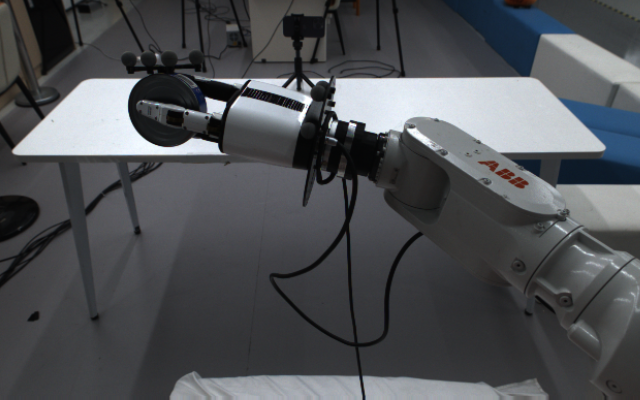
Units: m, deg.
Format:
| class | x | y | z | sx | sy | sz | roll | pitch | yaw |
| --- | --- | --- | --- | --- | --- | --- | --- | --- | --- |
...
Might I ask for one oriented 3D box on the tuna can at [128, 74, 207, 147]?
| class | x | y | z | sx | sy | sz | roll | pitch | yaw |
| --- | --- | --- | --- | --- | --- | --- | --- | --- | --- |
| tuna can | -0.178 | -0.107 | 0.579 | 0.085 | 0.085 | 0.034 | 4 | 17 | 2 |
